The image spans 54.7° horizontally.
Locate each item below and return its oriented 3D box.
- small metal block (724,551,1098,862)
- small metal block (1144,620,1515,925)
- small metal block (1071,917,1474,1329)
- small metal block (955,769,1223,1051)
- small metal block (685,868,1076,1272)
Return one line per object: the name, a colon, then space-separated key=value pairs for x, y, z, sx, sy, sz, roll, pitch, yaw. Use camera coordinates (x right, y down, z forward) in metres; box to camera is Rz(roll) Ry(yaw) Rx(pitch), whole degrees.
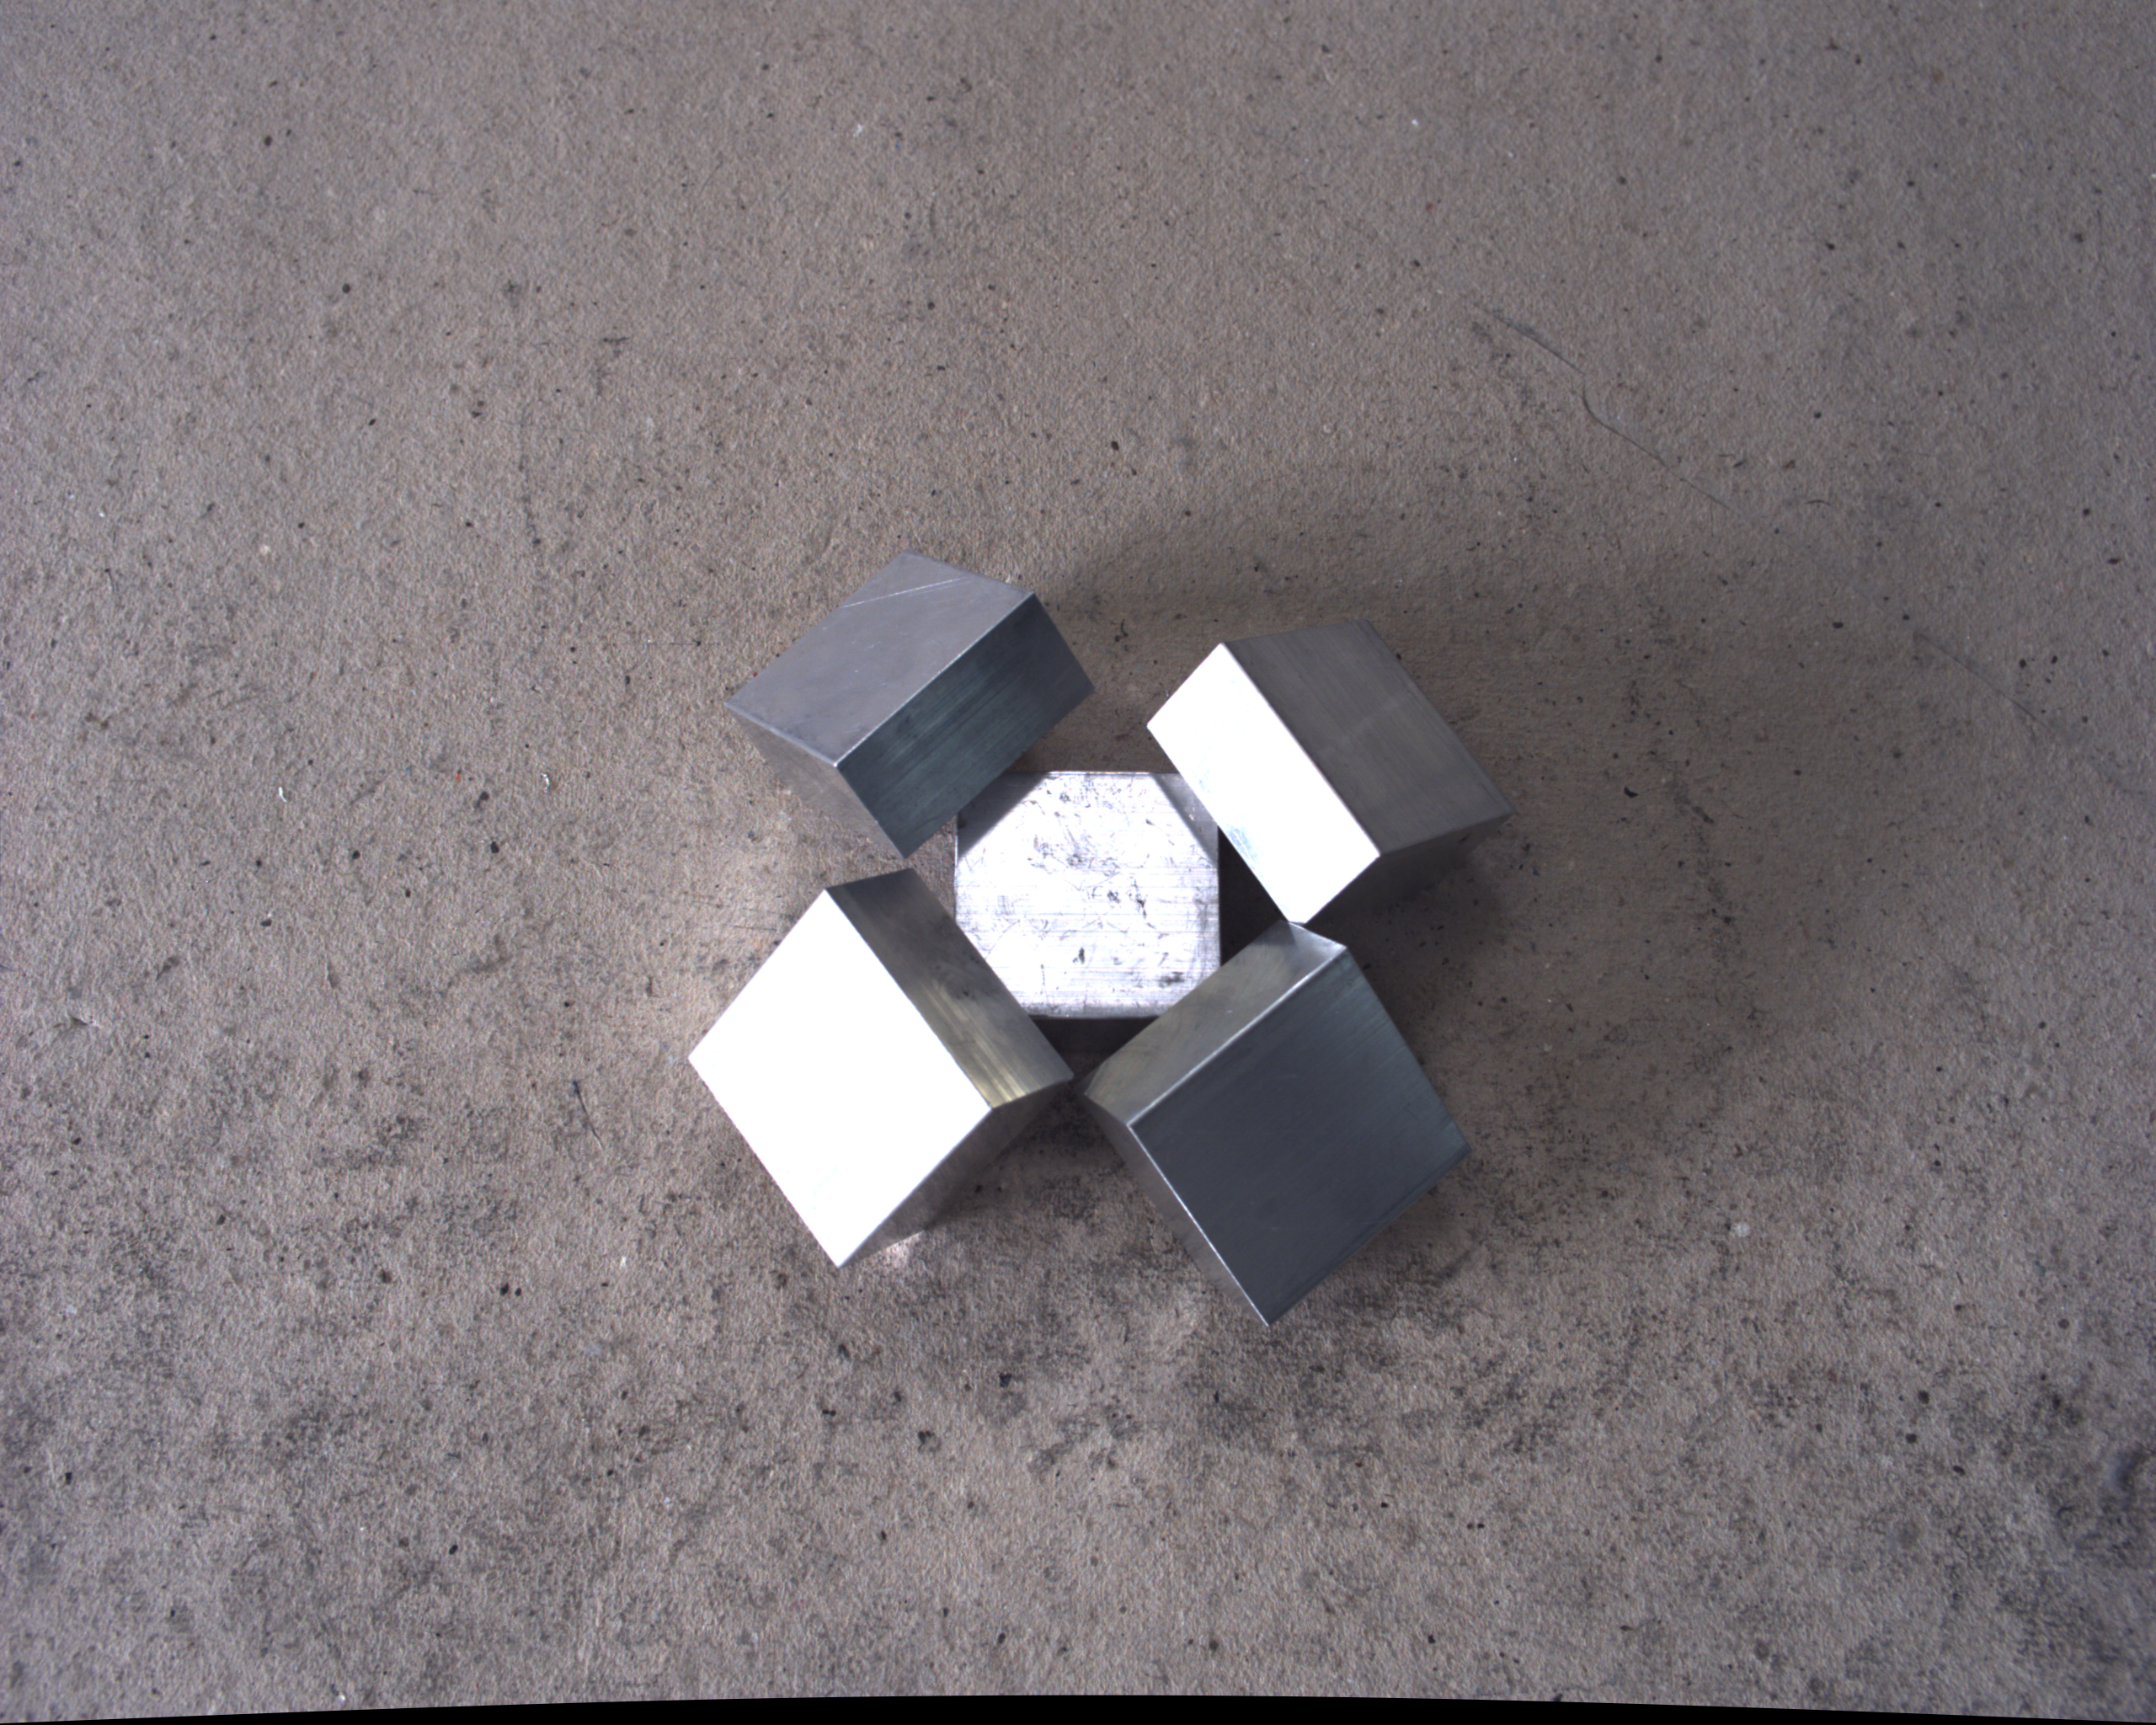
small metal block: x=-0.033 y=-0.032 z=0.407 sx=0.050 sy=0.025 sz=0.050 roll=-43 pitch=34 yaw=-15
small metal block: x=0.049 y=-0.018 z=0.403 sx=0.050 sy=0.025 sz=0.050 roll=-15 pitch=65 yaw=-49
small metal block: x=0.036 y=0.047 z=0.379 sx=0.050 sy=0.025 sz=0.050 roll=-38 pitch=112 yaw=-13
small metal block: x=0.002 y=0.009 z=0.406 sx=0.050 sy=0.025 sz=0.050 roll=0 pitch=70 yaw=-2
small metal block: x=-0.037 y=0.037 z=0.381 sx=0.050 sy=0.025 sz=0.050 roll=51 pitch=121 yaw=16
